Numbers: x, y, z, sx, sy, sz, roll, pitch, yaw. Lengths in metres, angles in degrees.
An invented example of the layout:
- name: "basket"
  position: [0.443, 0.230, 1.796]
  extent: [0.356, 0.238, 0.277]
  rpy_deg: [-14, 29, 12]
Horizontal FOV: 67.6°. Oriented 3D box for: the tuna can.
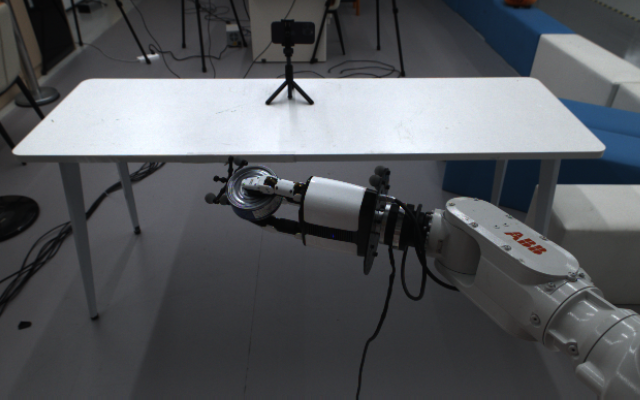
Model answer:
- name: "tuna can"
  position: [-0.101, -0.014, 0.755]
  extent: [0.085, 0.034, 0.085]
  rpy_deg: [-3, 59, 6]
